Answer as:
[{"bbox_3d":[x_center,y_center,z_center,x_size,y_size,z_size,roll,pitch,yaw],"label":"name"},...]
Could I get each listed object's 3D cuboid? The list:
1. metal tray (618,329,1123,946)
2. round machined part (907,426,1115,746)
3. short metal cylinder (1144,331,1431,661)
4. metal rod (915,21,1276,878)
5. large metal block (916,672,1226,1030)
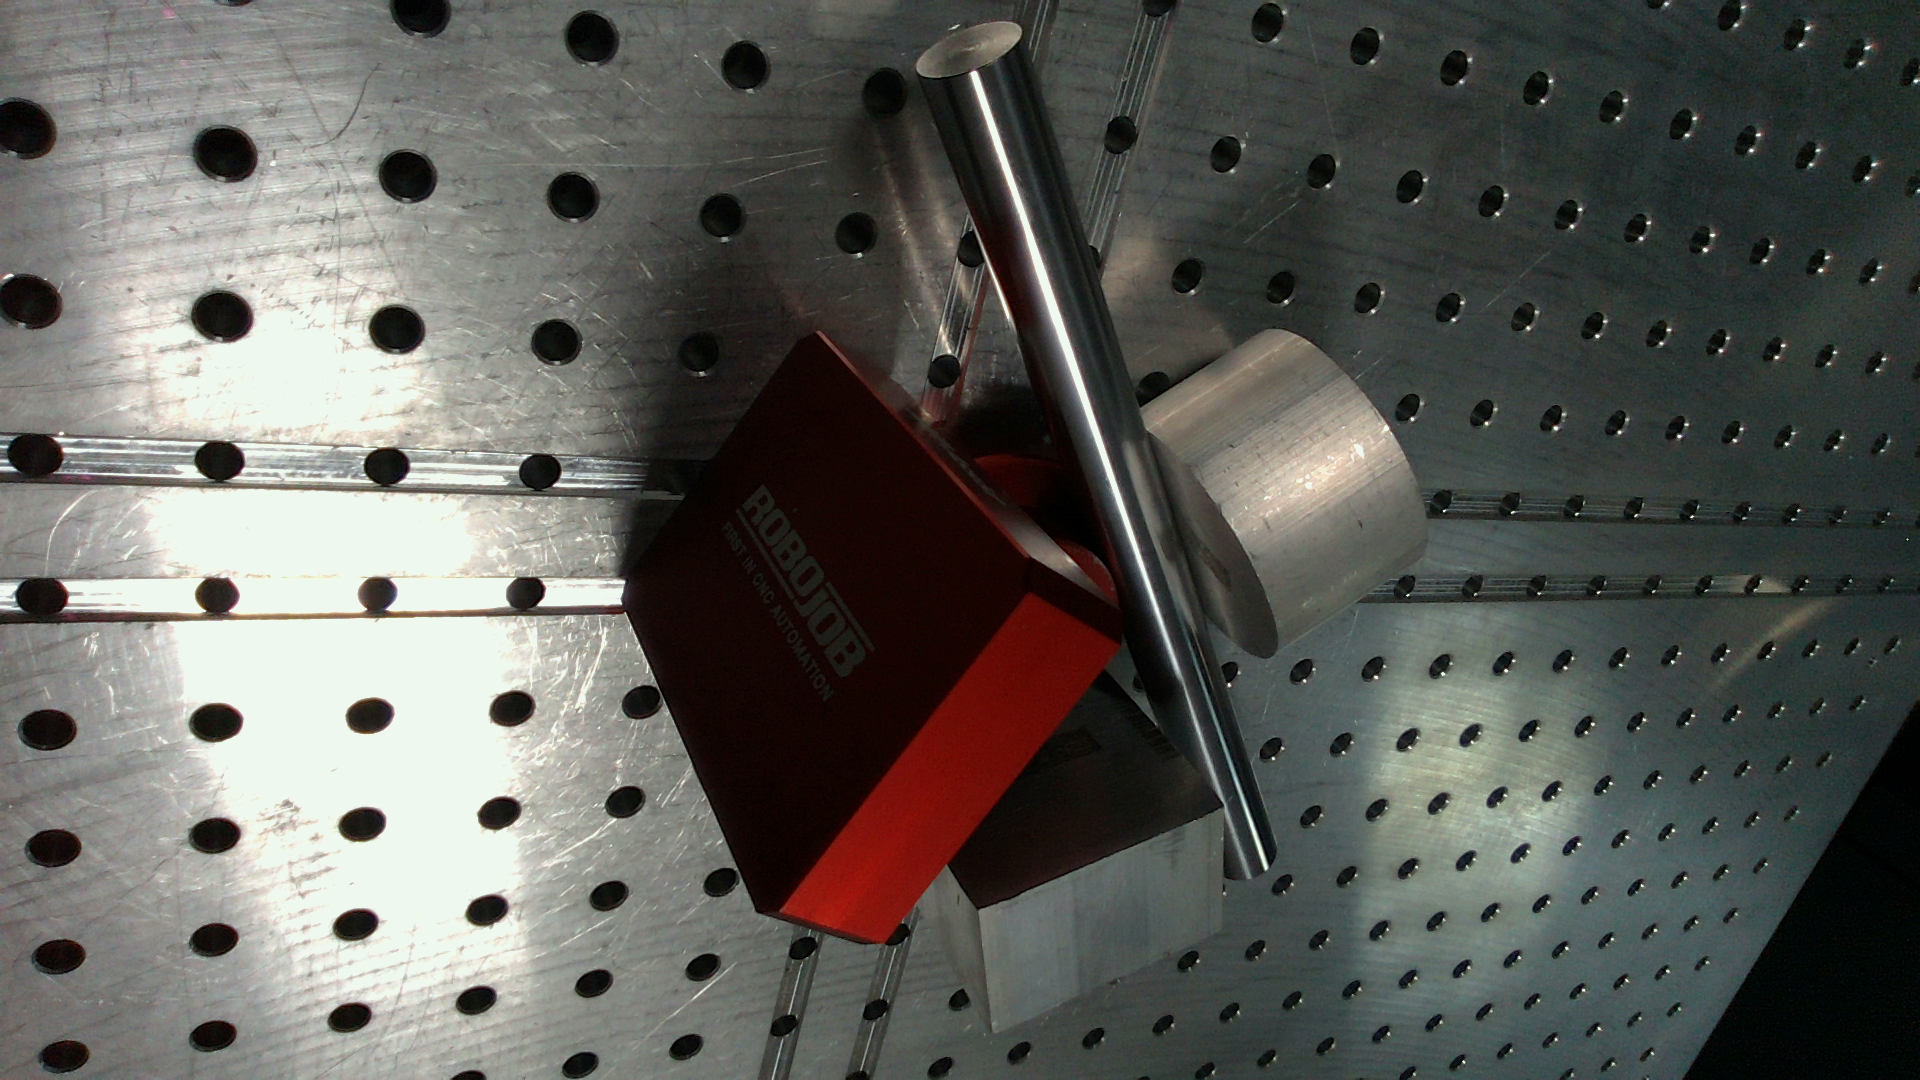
[{"bbox_3d":[-0.029,0.016,0.319,0.030,0.130,0.090,30,101,-38],"label":"metal tray"},{"bbox_3d":[0.006,0.020,0.396,0.098,0.042,0.098,-14,124,-21],"label":"round machined part"},{"bbox_3d":[0.088,-0.013,0.395,0.050,0.080,0.080,-32,129,-7],"label":"short metal cylinder"},{"bbox_3d":[0.050,0.001,0.393,0.025,0.025,0.300,-31,128,-8],"label":"metal rod"},{"bbox_3d":[0.025,0.090,0.425,0.080,0.080,0.050,-18,126,-18],"label":"large metal block"}]
